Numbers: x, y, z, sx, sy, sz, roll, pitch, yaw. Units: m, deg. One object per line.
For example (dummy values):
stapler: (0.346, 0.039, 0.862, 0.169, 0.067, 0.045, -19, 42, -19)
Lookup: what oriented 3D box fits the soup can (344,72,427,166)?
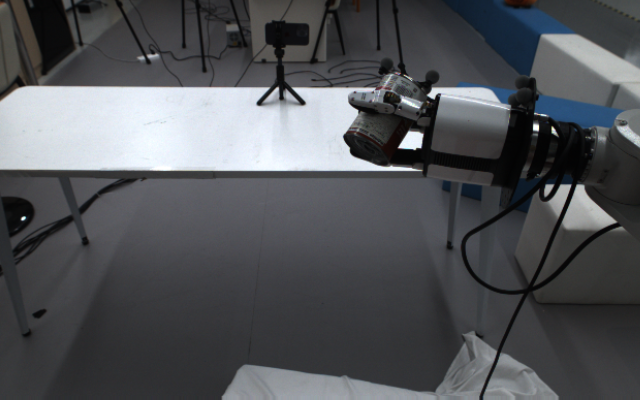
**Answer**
soup can: (0.085, -0.106, 0.628, 0.067, 0.067, 0.101, 27, 78, 32)
